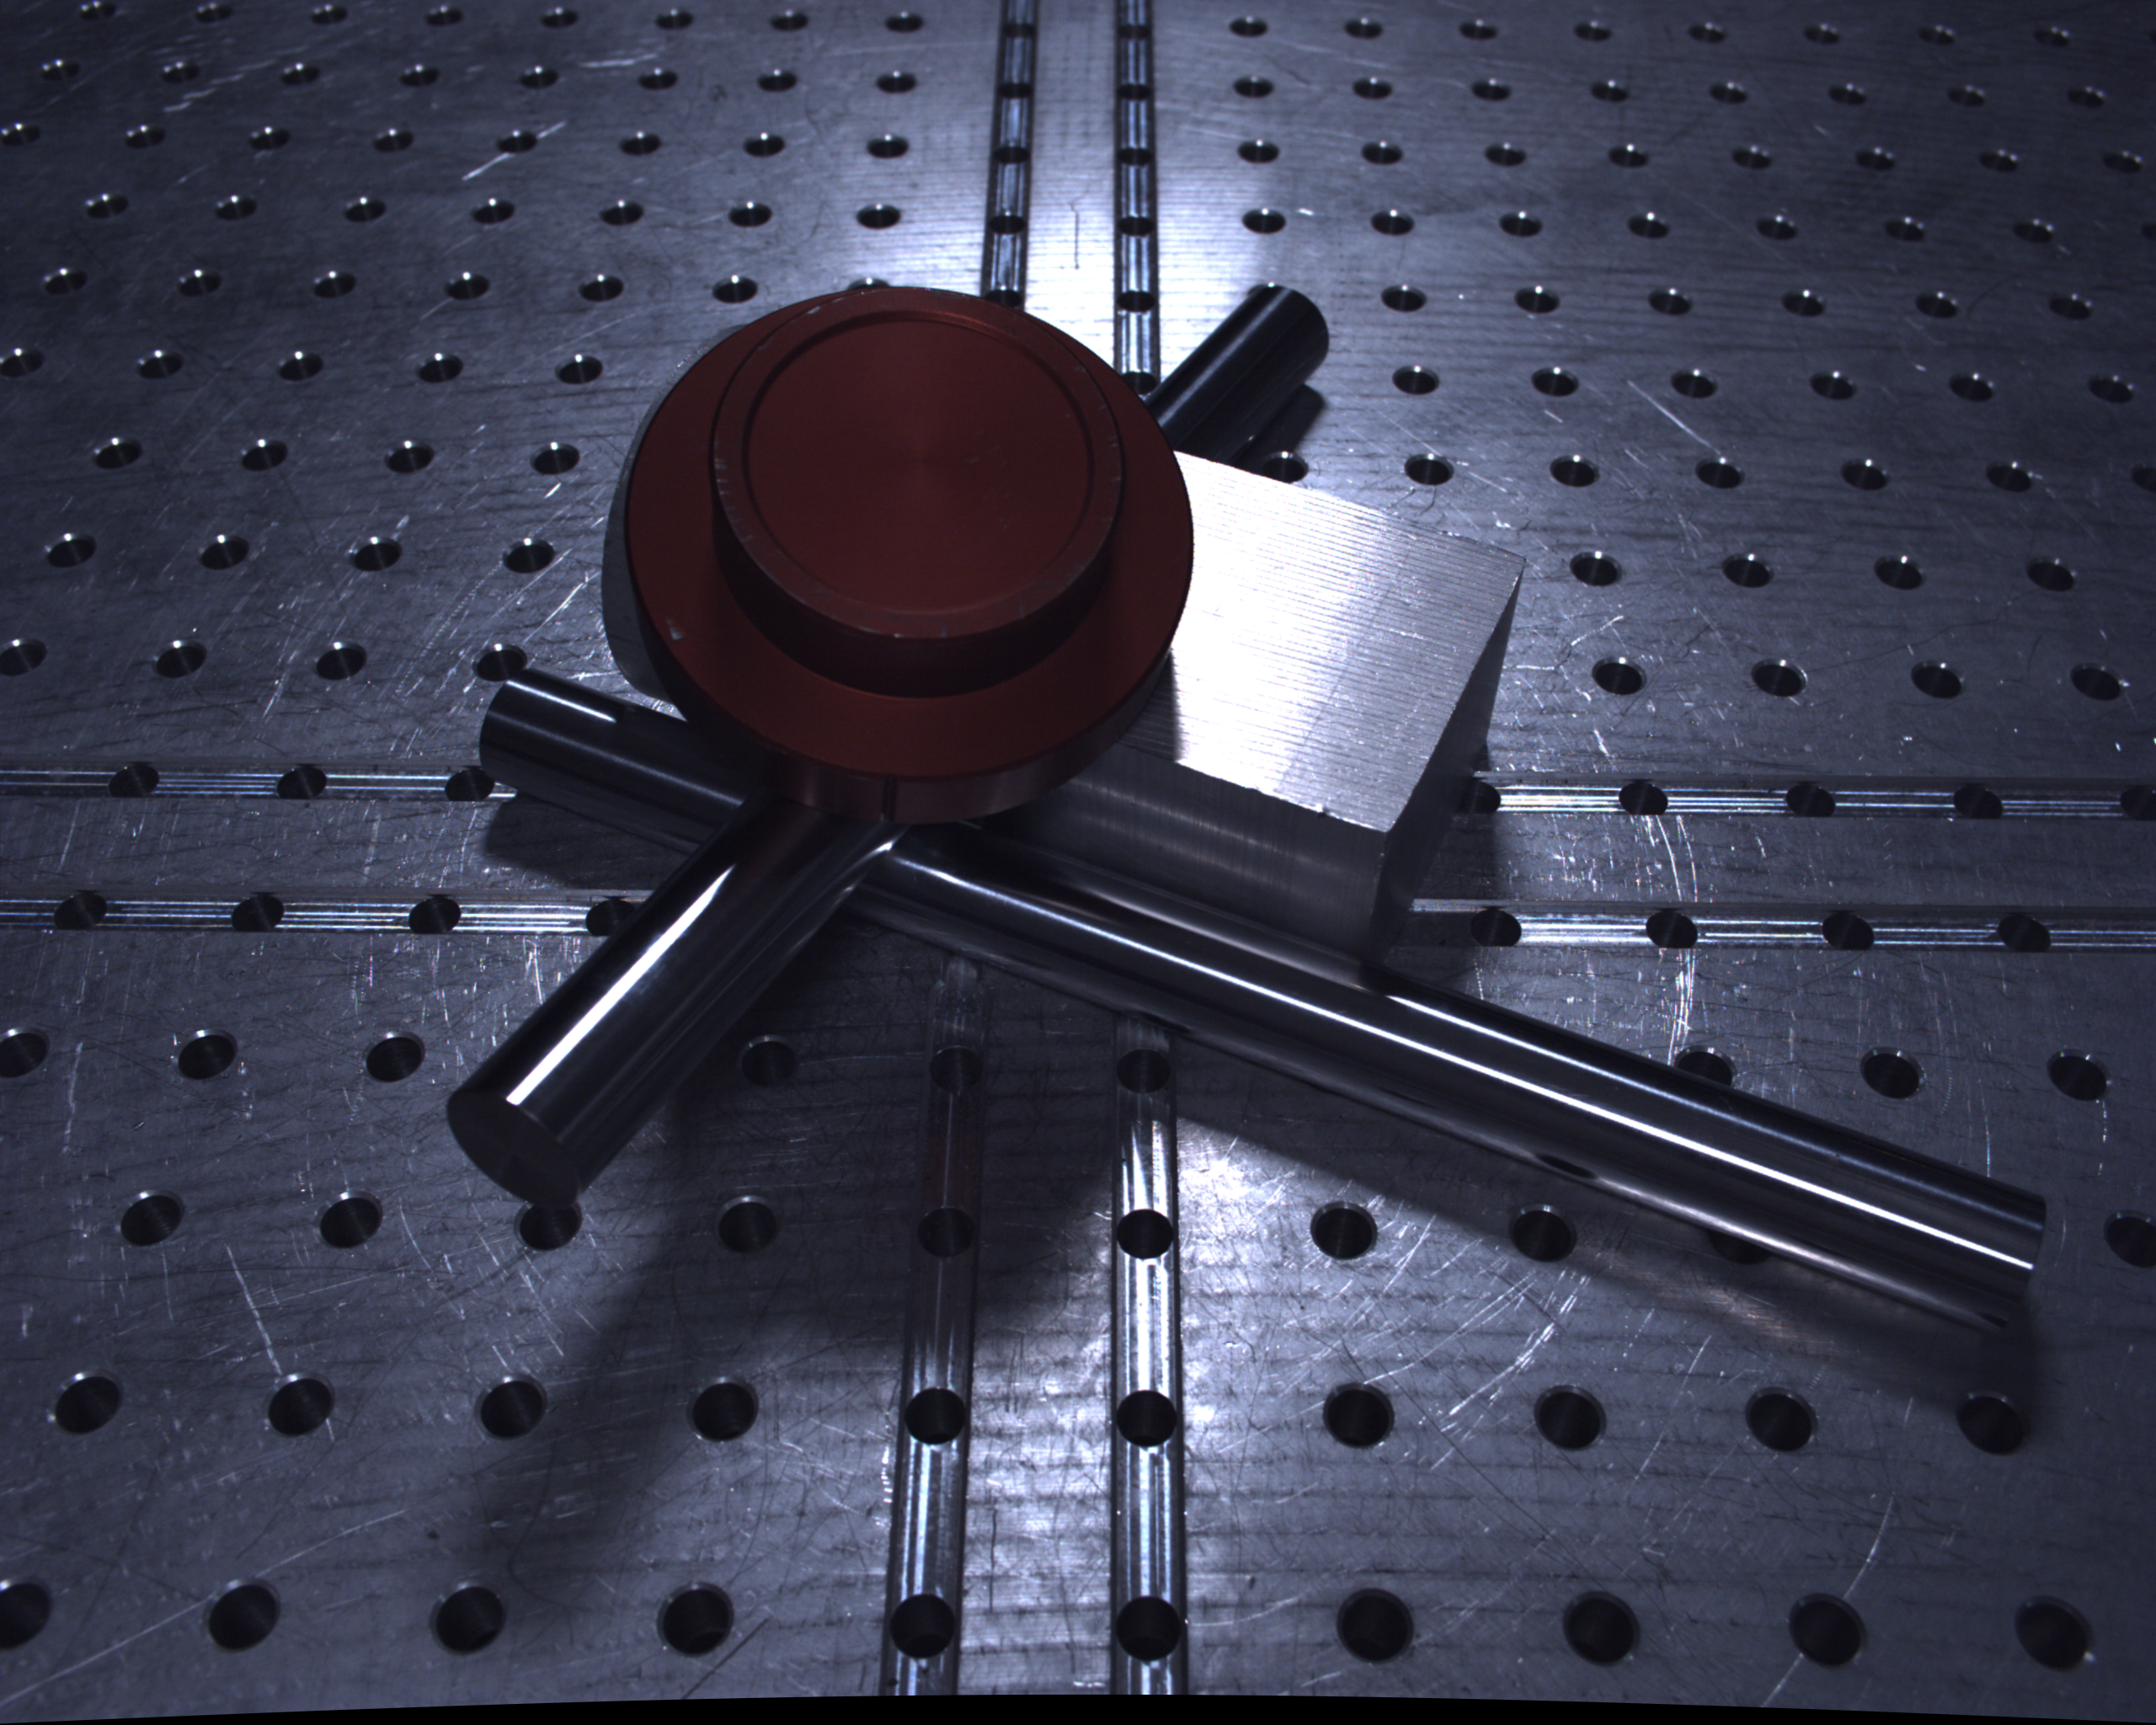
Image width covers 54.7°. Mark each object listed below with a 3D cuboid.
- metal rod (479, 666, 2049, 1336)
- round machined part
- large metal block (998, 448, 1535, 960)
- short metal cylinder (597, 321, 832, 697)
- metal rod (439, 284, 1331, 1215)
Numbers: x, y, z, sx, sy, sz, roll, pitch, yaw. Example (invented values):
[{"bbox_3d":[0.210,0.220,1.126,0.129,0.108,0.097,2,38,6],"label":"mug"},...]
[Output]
[{"bbox_3d":[0.022,0.020,0.390,0.301,0.025,0.025,19,53,15],"label":"metal rod"},{"bbox_3d":[-0.029,-0.059,0.361,0.099,0.042,0.098,3,70,-7],"label":"round machined part"},{"bbox_3d":[0.035,-0.030,0.413,0.080,0.050,0.080,20,53,16],"label":"large metal block"},{"bbox_3d":[-0.053,-0.064,0.424,0.050,0.080,0.080,20,53,15],"label":"short metal cylinder"},{"bbox_3d":[-0.018,-0.044,0.419,0.025,0.025,0.301,22,46,17],"label":"metal rod"}]
